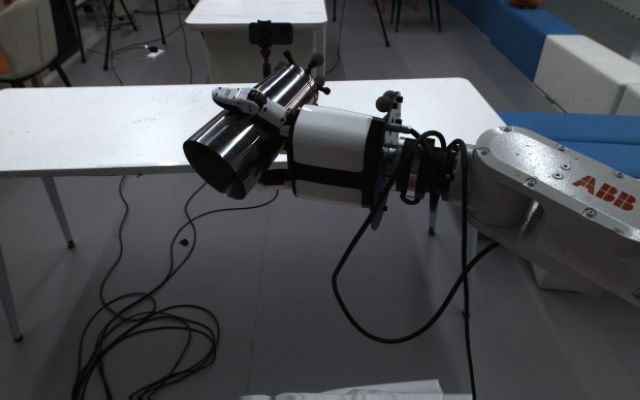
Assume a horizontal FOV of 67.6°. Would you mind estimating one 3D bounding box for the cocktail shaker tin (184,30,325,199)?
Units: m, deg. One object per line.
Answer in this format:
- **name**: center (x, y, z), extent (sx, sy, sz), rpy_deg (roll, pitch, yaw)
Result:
- **cocktail shaker tin**: center (-0.076, -0.098, 0.593), extent (0.093, 0.093, 0.170), rpy_deg (23, 57, 27)
